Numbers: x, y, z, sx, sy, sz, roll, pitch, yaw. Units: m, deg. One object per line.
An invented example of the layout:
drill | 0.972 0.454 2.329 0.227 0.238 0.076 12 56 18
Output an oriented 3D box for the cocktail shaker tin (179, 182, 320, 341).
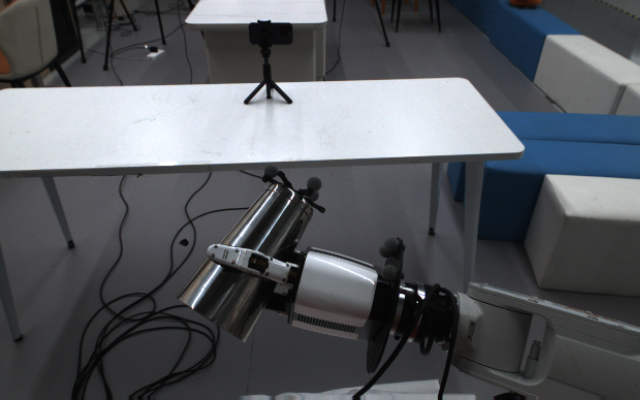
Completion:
cocktail shaker tin | -0.078 0.065 0.566 0.093 0.093 0.170 22 67 26
